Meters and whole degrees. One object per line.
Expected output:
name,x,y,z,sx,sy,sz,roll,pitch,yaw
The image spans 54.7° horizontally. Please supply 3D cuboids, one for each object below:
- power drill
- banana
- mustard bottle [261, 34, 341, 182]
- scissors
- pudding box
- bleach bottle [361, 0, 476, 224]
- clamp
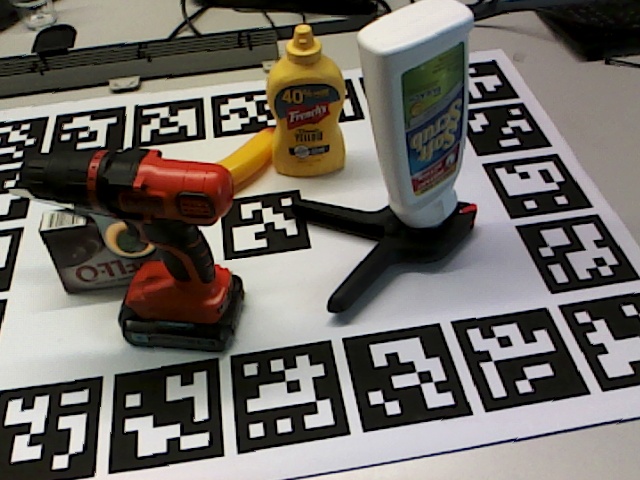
power drill,-0.168,0.005,0.564,0.185,0.186,0.057,0,40,7
banana,-0.129,-0.109,0.801,0.075,0.038,0.197,19,49,41
mustard bottle,-0.023,-0.159,0.752,0.096,0.191,0.058,3,47,4
scissors,-0.249,-0.042,0.630,0.203,0.016,0.088,13,53,9
pudding box,-0.237,0.005,0.672,0.114,0.090,0.039,-5,40,-2
bleach bottle,0.106,-0.106,0.630,0.102,0.249,0.068,-27,47,-12
clamp,0.077,-0.018,0.693,0.202,0.036,0.166,-12,50,-10
